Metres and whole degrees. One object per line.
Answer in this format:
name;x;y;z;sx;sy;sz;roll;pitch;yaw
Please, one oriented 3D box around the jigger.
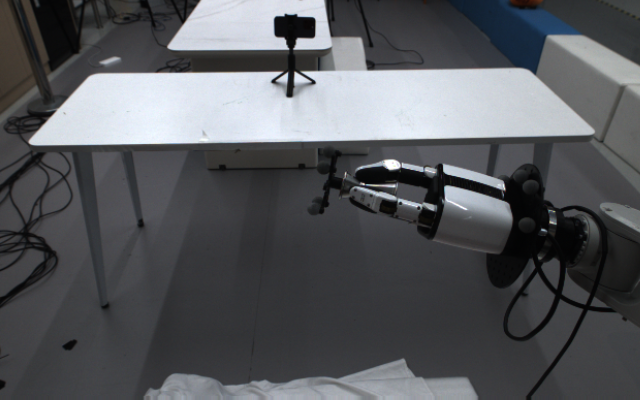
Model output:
jigger;0.068;-0.013;0.618;0.071;0.043;0.043;14;36;4
